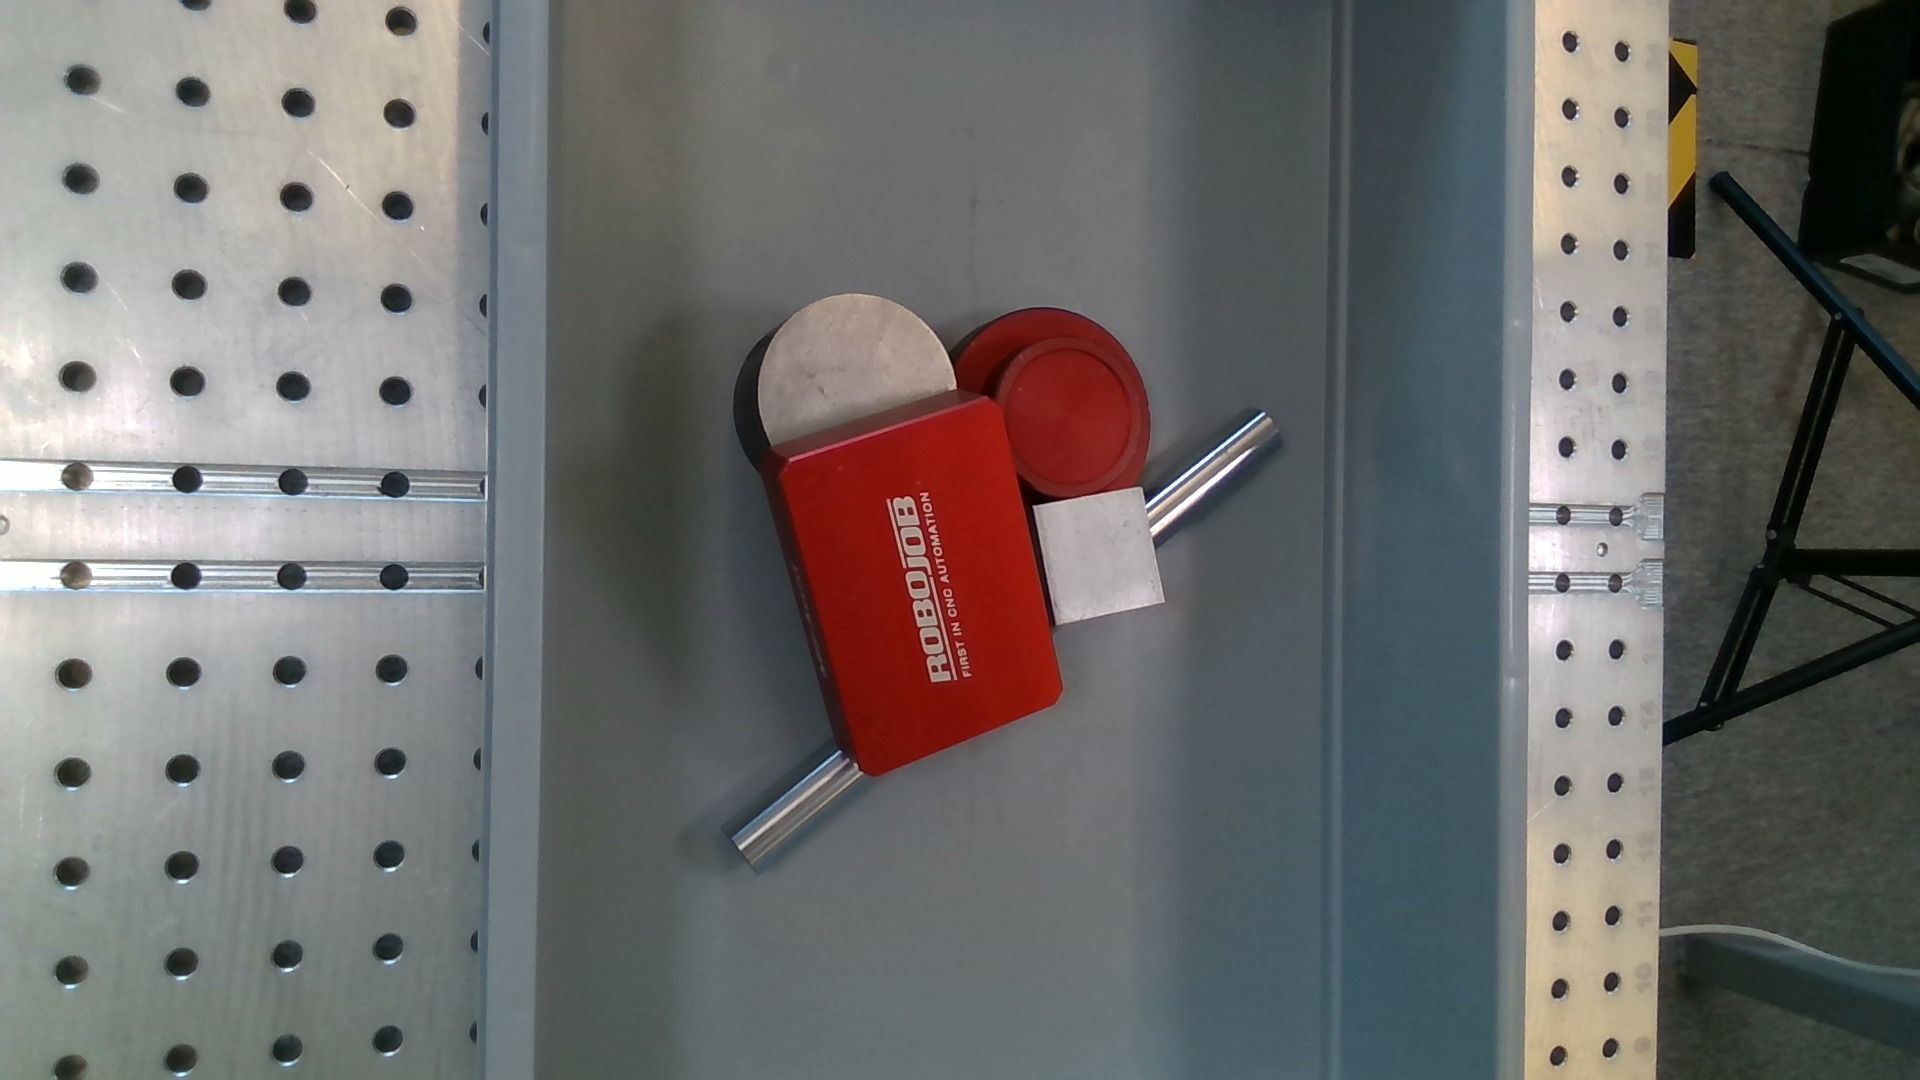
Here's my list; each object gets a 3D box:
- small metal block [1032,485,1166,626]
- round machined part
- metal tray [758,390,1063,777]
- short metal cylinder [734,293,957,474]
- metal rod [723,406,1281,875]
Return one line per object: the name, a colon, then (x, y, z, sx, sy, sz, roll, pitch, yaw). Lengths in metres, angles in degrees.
small metal block: (0.054, 0.007, 0.580, 0.050, 0.025, 0.050, -11, 89, -17)
round machined part: (0.039, -0.052, 0.589, 0.098, 0.042, 0.098, 0, 89, -20)
metal tray: (-0.017, 0.016, 0.535, 0.090, 0.030, 0.130, -20, 110, -19)
short metal cylinder: (-0.047, -0.055, 0.554, 0.080, 0.050, 0.080, 0, 90, -20)
metal rod: (0.025, 0.037, 0.595, 0.300, 0.025, 0.025, -38, 102, -16)
